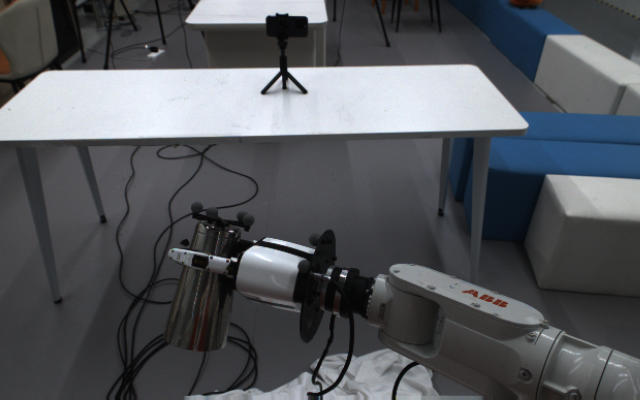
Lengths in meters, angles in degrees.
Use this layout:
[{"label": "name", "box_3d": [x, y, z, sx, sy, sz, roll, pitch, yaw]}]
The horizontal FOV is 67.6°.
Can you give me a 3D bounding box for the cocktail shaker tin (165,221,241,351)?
[{"label": "cocktail shaker tin", "box_3d": [-0.162, 0.119, 0.707, 0.093, 0.170, 0.093, 12, 2, 0]}]
